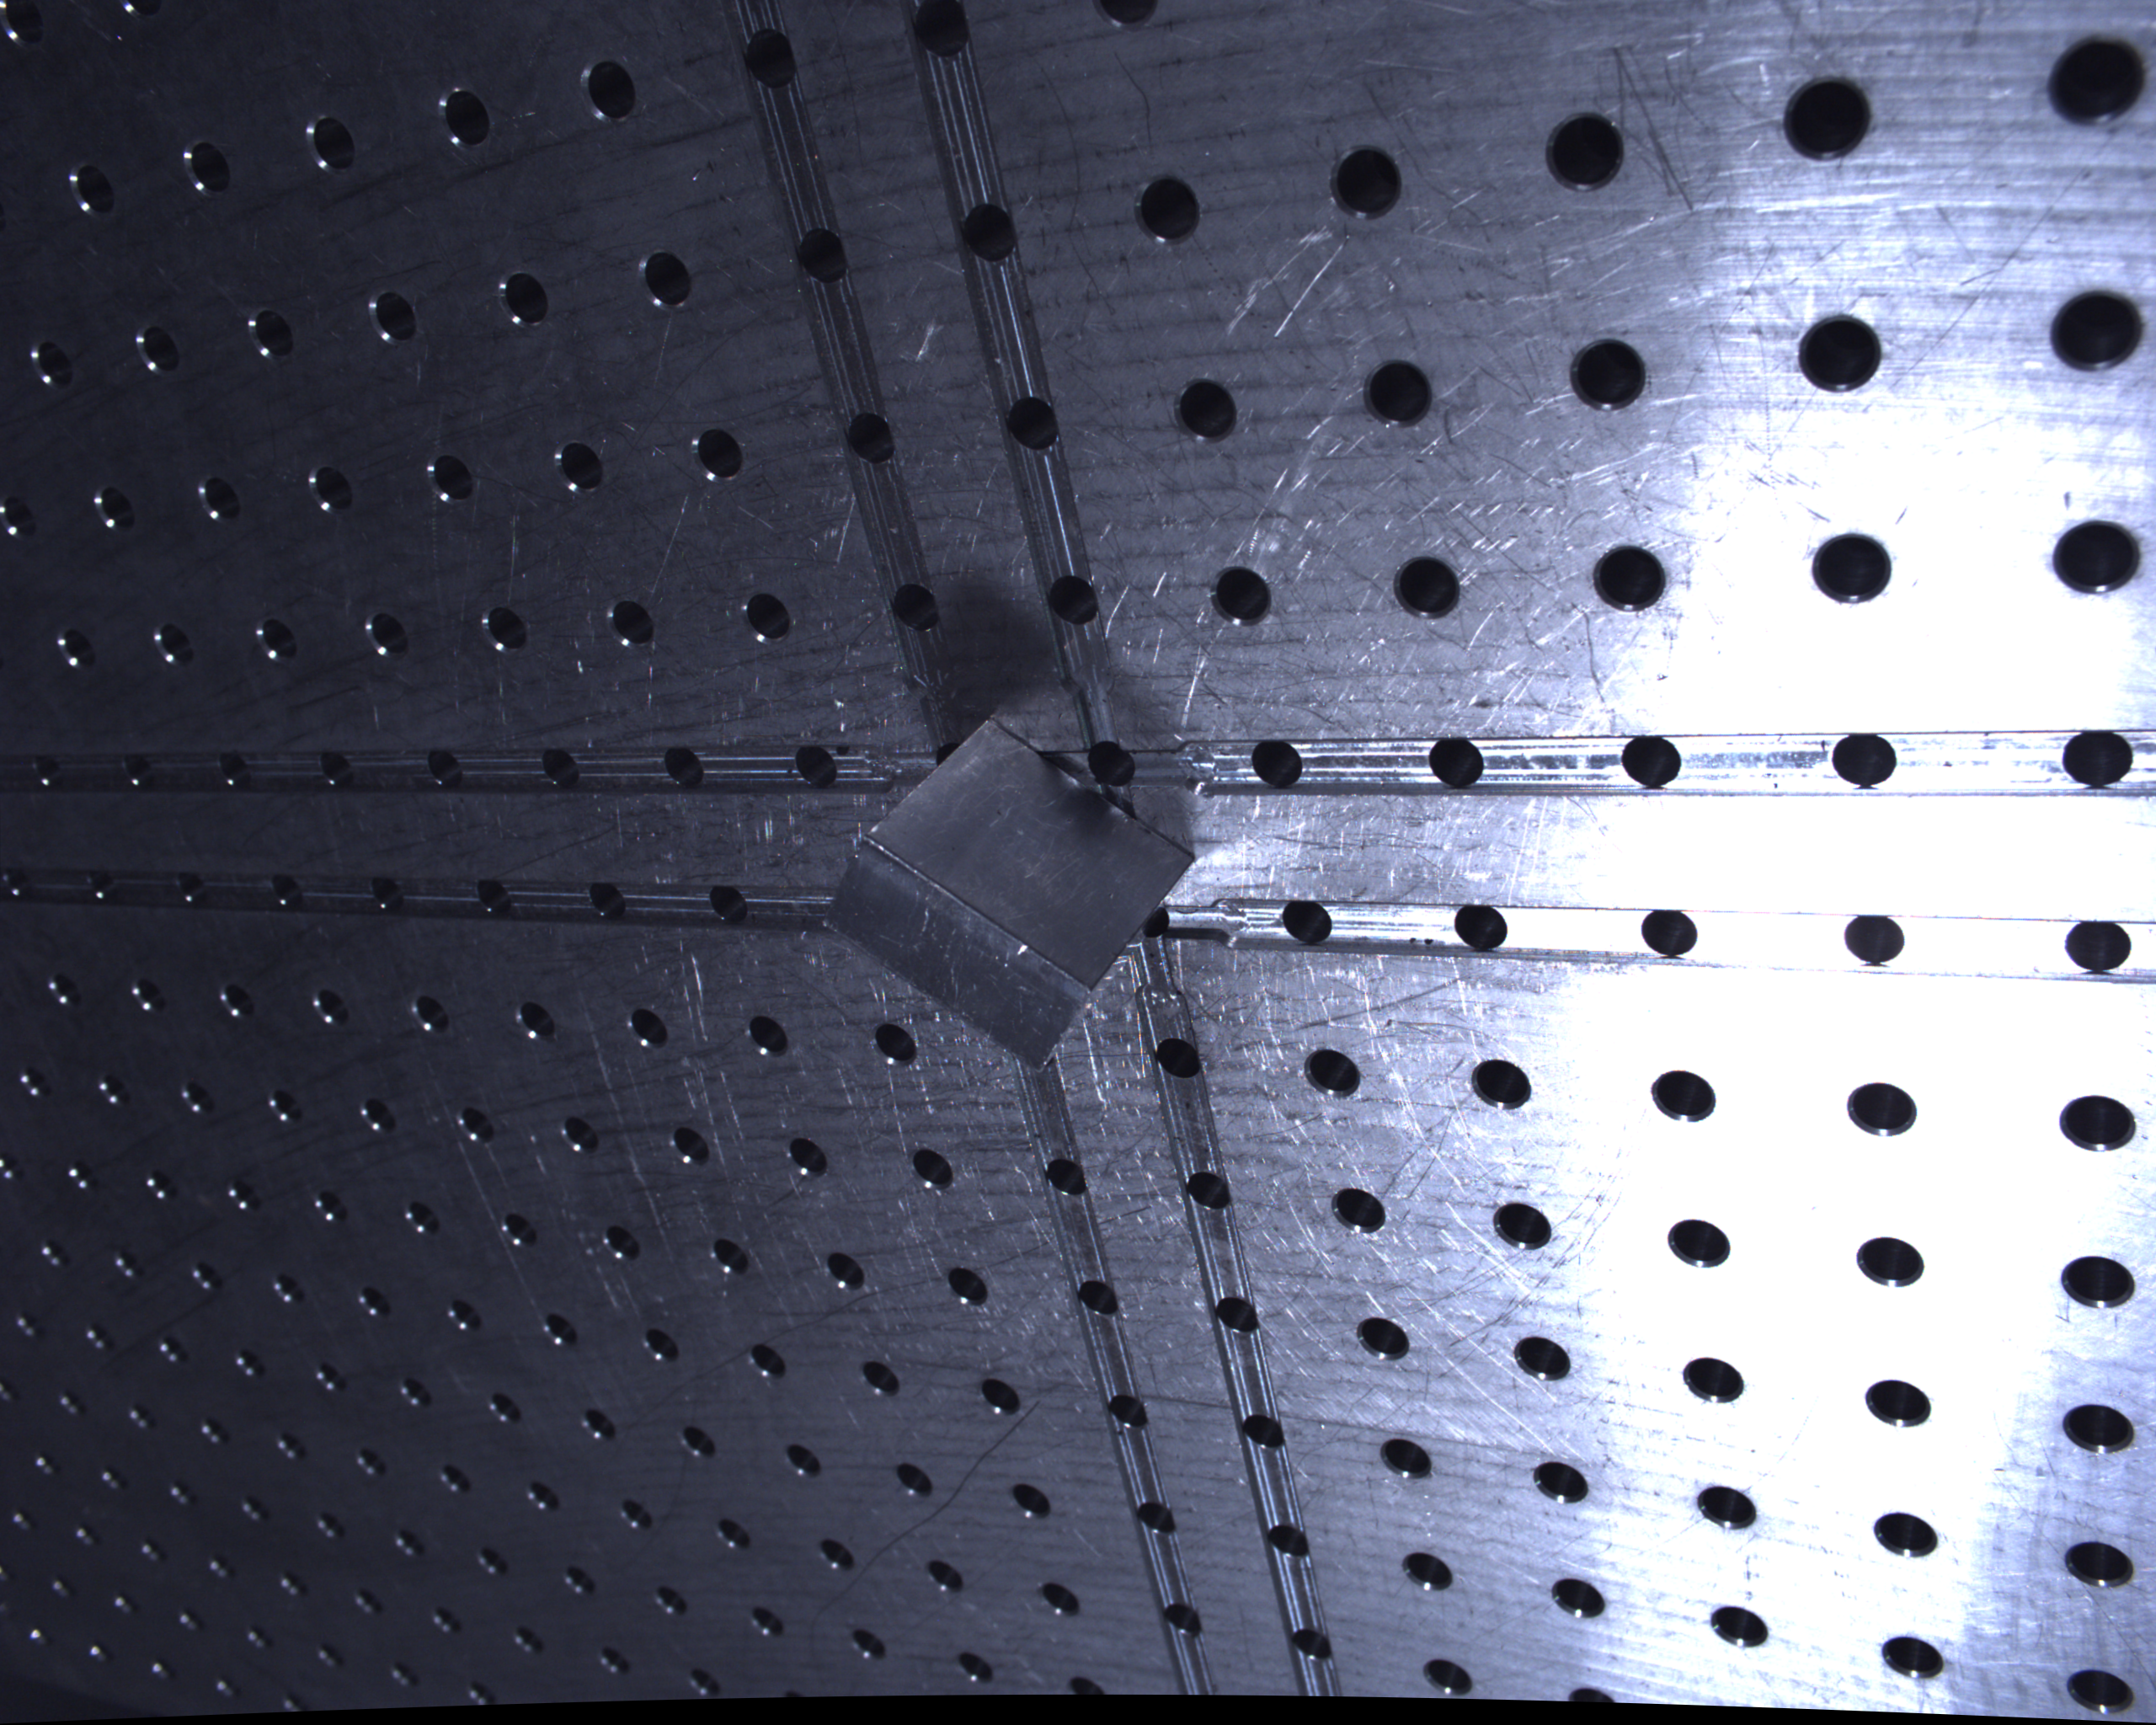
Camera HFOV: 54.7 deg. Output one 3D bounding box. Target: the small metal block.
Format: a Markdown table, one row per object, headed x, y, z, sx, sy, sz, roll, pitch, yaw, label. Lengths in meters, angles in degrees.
| x | y | z | sx | sy | sz | roll | pitch | yaw | label |
| --- | --- | --- | --- | --- | --- | --- | --- | --- | --- |
| -0.013 | 0.005 | 0.403 | 0.050 | 0.050 | 0.025 | 35 | 129 | 5 | small metal block |
